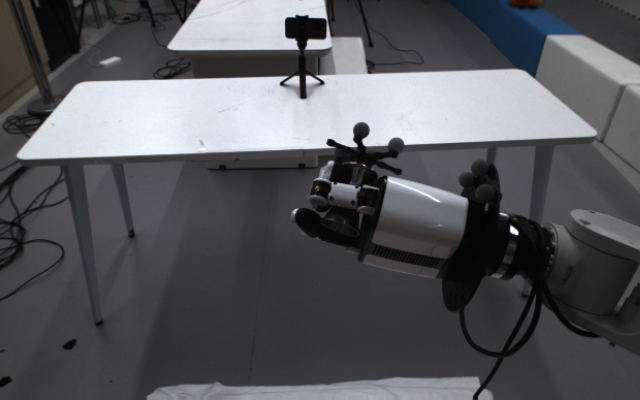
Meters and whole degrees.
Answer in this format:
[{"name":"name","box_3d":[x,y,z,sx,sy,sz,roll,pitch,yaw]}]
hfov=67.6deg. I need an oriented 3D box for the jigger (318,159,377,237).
[{"name":"jigger","box_3d":[0.034,-0.002,0.511,0.043,0.043,0.071,15,70,17]}]
